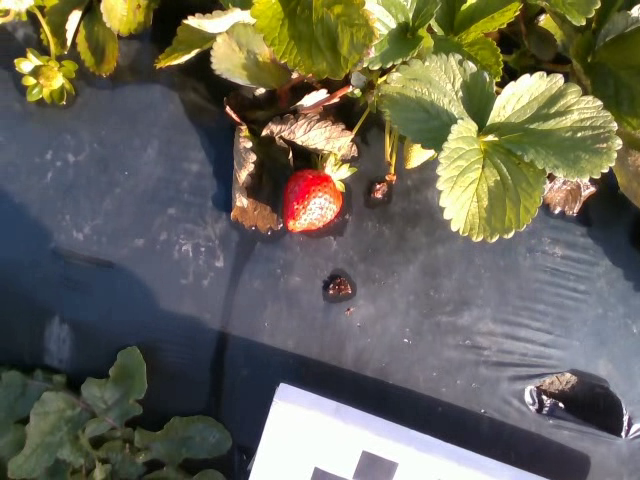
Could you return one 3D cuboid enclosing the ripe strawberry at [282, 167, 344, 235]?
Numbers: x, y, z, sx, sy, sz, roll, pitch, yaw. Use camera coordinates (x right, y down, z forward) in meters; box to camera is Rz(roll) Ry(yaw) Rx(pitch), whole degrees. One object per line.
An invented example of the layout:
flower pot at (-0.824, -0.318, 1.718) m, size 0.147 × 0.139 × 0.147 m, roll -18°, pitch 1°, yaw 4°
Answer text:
ripe strawberry at (-0.010, -0.014, 0.337) m, size 0.047 × 0.054 × 0.037 m, roll 37°, pitch -23°, yaw -5°
